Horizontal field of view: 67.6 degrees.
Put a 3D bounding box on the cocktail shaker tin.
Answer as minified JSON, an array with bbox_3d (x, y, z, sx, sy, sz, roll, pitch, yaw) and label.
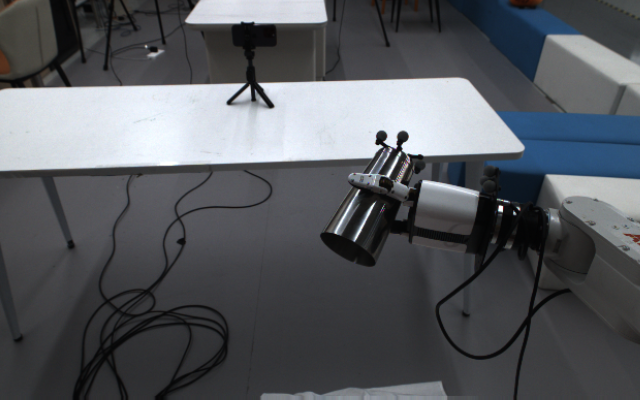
[{"bbox_3d":[0.082,0.001,0.736,0.093,0.093,0.170,20,67,24],"label":"cocktail shaker tin"}]
